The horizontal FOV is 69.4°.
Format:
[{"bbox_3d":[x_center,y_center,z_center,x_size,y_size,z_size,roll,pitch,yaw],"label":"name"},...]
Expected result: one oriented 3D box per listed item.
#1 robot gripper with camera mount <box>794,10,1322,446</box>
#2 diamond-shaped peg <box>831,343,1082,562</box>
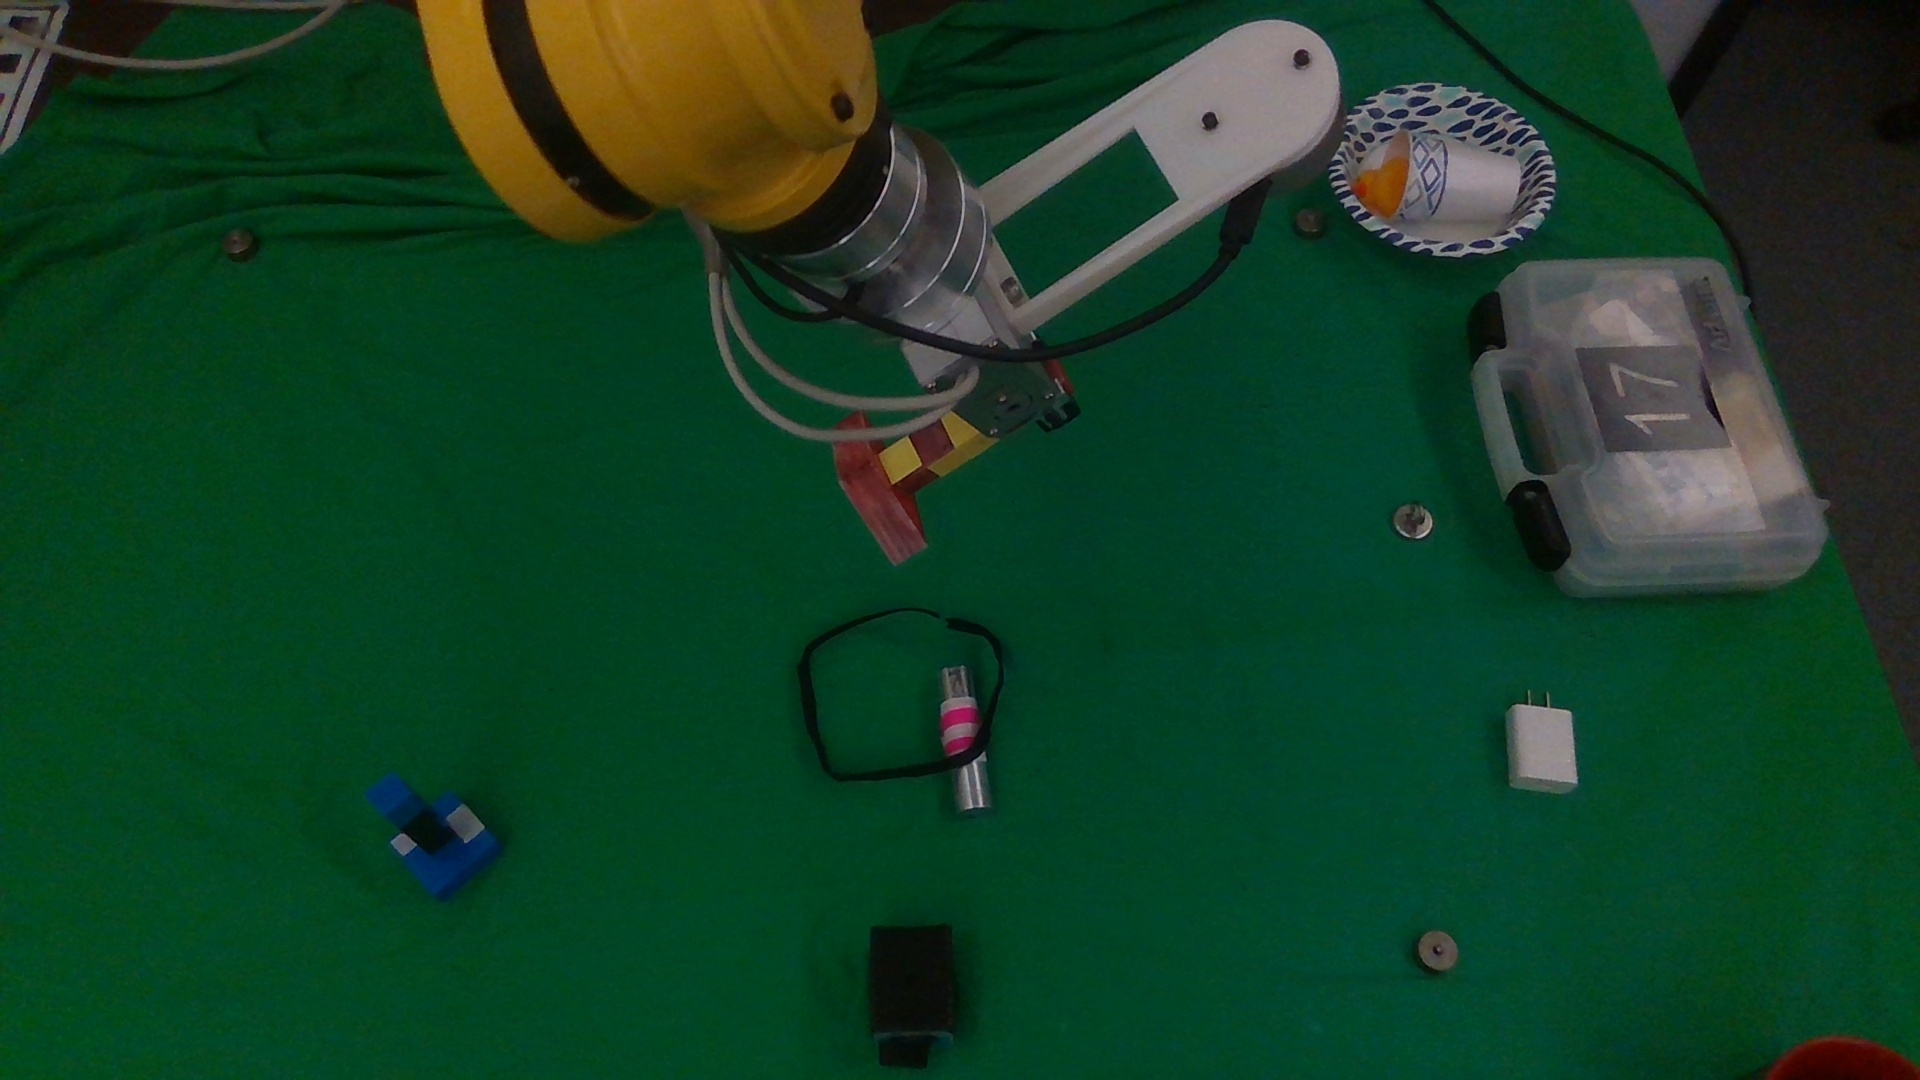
[{"bbox_3d":[0.066,-0.136,0.589,0.193,0.158,0.119,-38,68,10],"label":"robot gripper with camera mount"},{"bbox_3d":[0.001,-0.053,0.676,0.122,0.045,0.074,-31,99,13],"label":"diamond-shaped peg"}]
